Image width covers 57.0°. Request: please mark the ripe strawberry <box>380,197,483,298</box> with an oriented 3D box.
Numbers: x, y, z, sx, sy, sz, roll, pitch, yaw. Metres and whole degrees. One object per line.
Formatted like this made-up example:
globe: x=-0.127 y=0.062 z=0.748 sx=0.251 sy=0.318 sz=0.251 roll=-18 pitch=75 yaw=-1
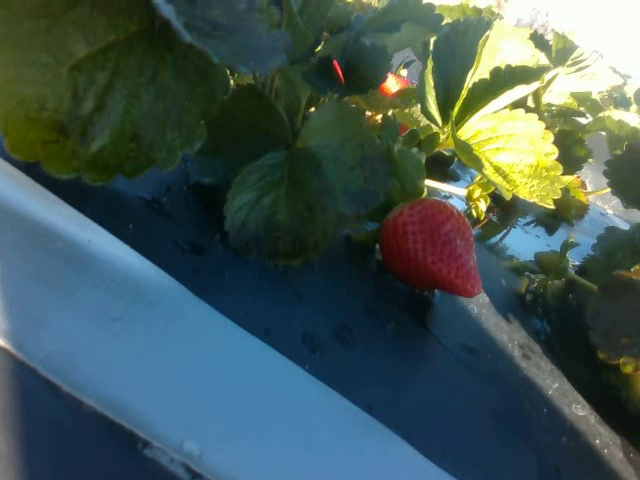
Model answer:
ripe strawberry: x=0.049 y=0.005 z=0.233 sx=0.045 sy=0.059 sz=0.042 roll=-19 pitch=-38 yaw=-7
